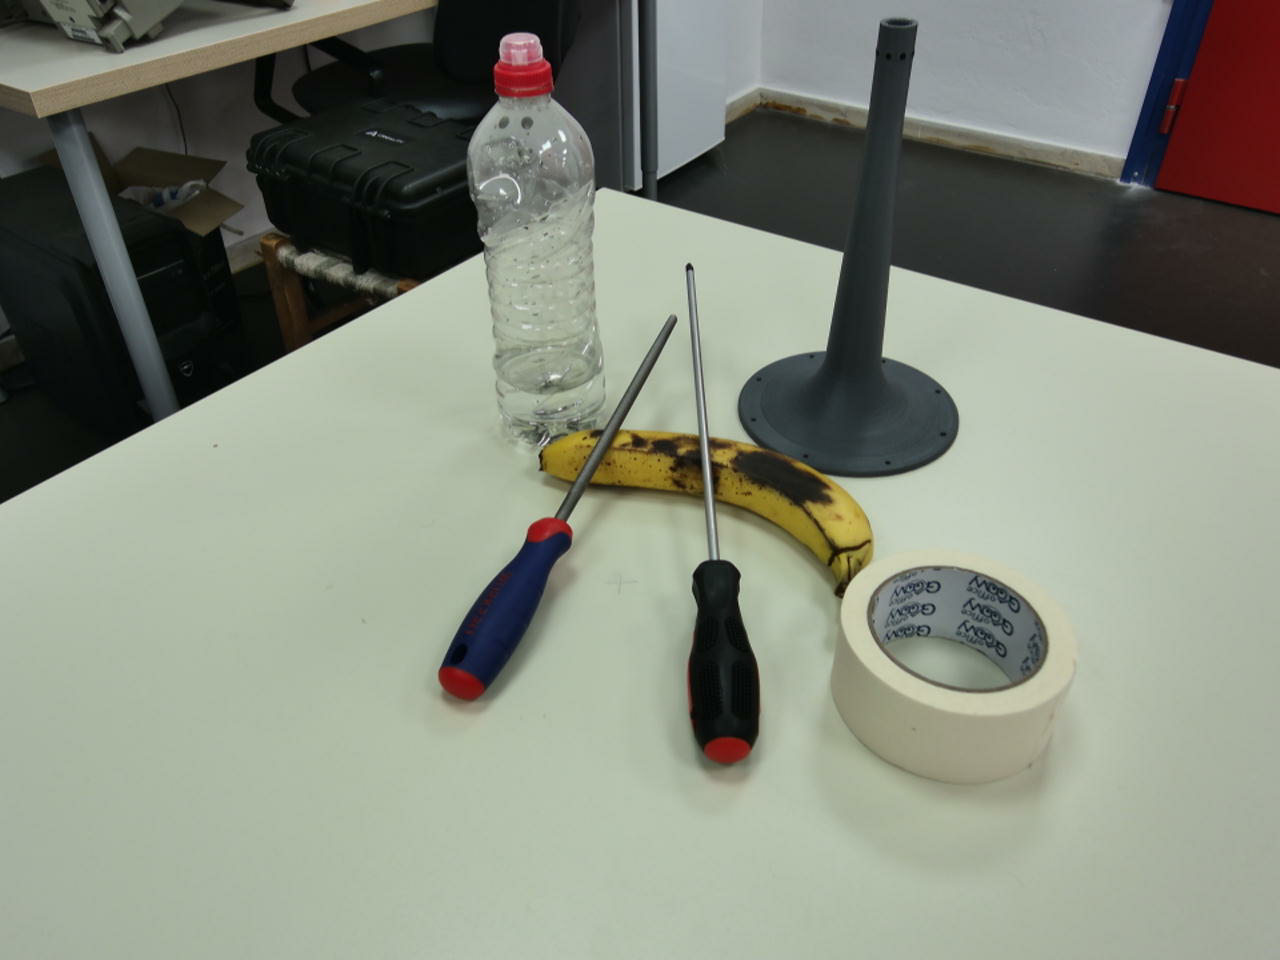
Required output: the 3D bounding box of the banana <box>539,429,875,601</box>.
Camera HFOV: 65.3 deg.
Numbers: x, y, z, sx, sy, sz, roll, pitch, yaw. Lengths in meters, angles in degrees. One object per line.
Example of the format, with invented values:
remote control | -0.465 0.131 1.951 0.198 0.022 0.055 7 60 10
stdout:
banana | 0.046 0.004 0.596 0.222 0.037 0.084 24 44 29
